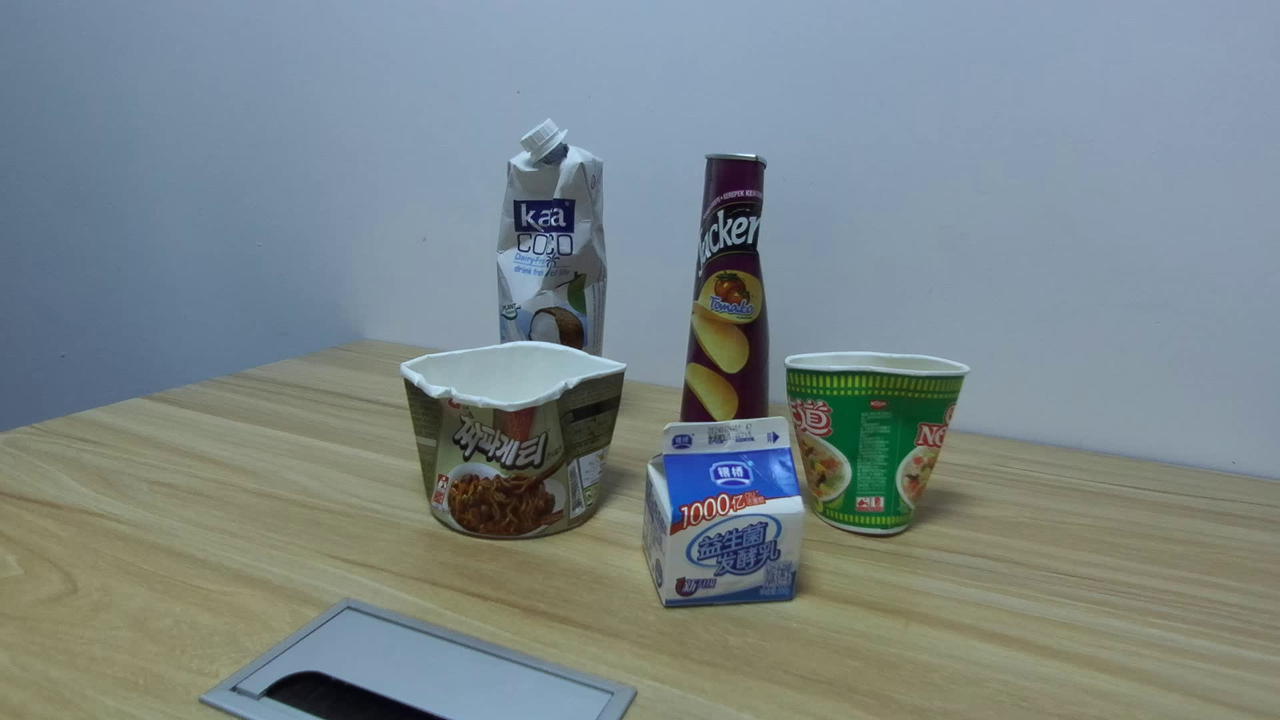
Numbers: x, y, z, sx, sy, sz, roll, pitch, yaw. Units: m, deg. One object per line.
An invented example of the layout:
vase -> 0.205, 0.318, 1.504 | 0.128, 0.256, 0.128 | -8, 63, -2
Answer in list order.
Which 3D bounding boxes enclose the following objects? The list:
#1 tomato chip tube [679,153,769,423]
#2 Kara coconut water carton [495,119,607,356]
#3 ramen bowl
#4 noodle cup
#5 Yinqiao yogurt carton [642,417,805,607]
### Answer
tomato chip tube -> 0.074, -0.039, 0.559 | 0.076, 0.235, 0.078 | 16, 18, 42
Kara coconut water carton -> -0.075, -0.066, 0.589 | 0.083, 0.255, 0.078 | 11, 19, 24
ramen bowl -> -0.091, 0.047, 0.471 | 0.133, 0.097, 0.114 | 11, 19, 23
noodle cup -> 0.151, 0.051, 0.468 | 0.115, 0.111, 0.070 | 7, 17, 16
Yinqiao yogurt carton -> 0.044, 0.075, 0.392 | 0.076, 0.092, 0.073 | -1, 16, -9
